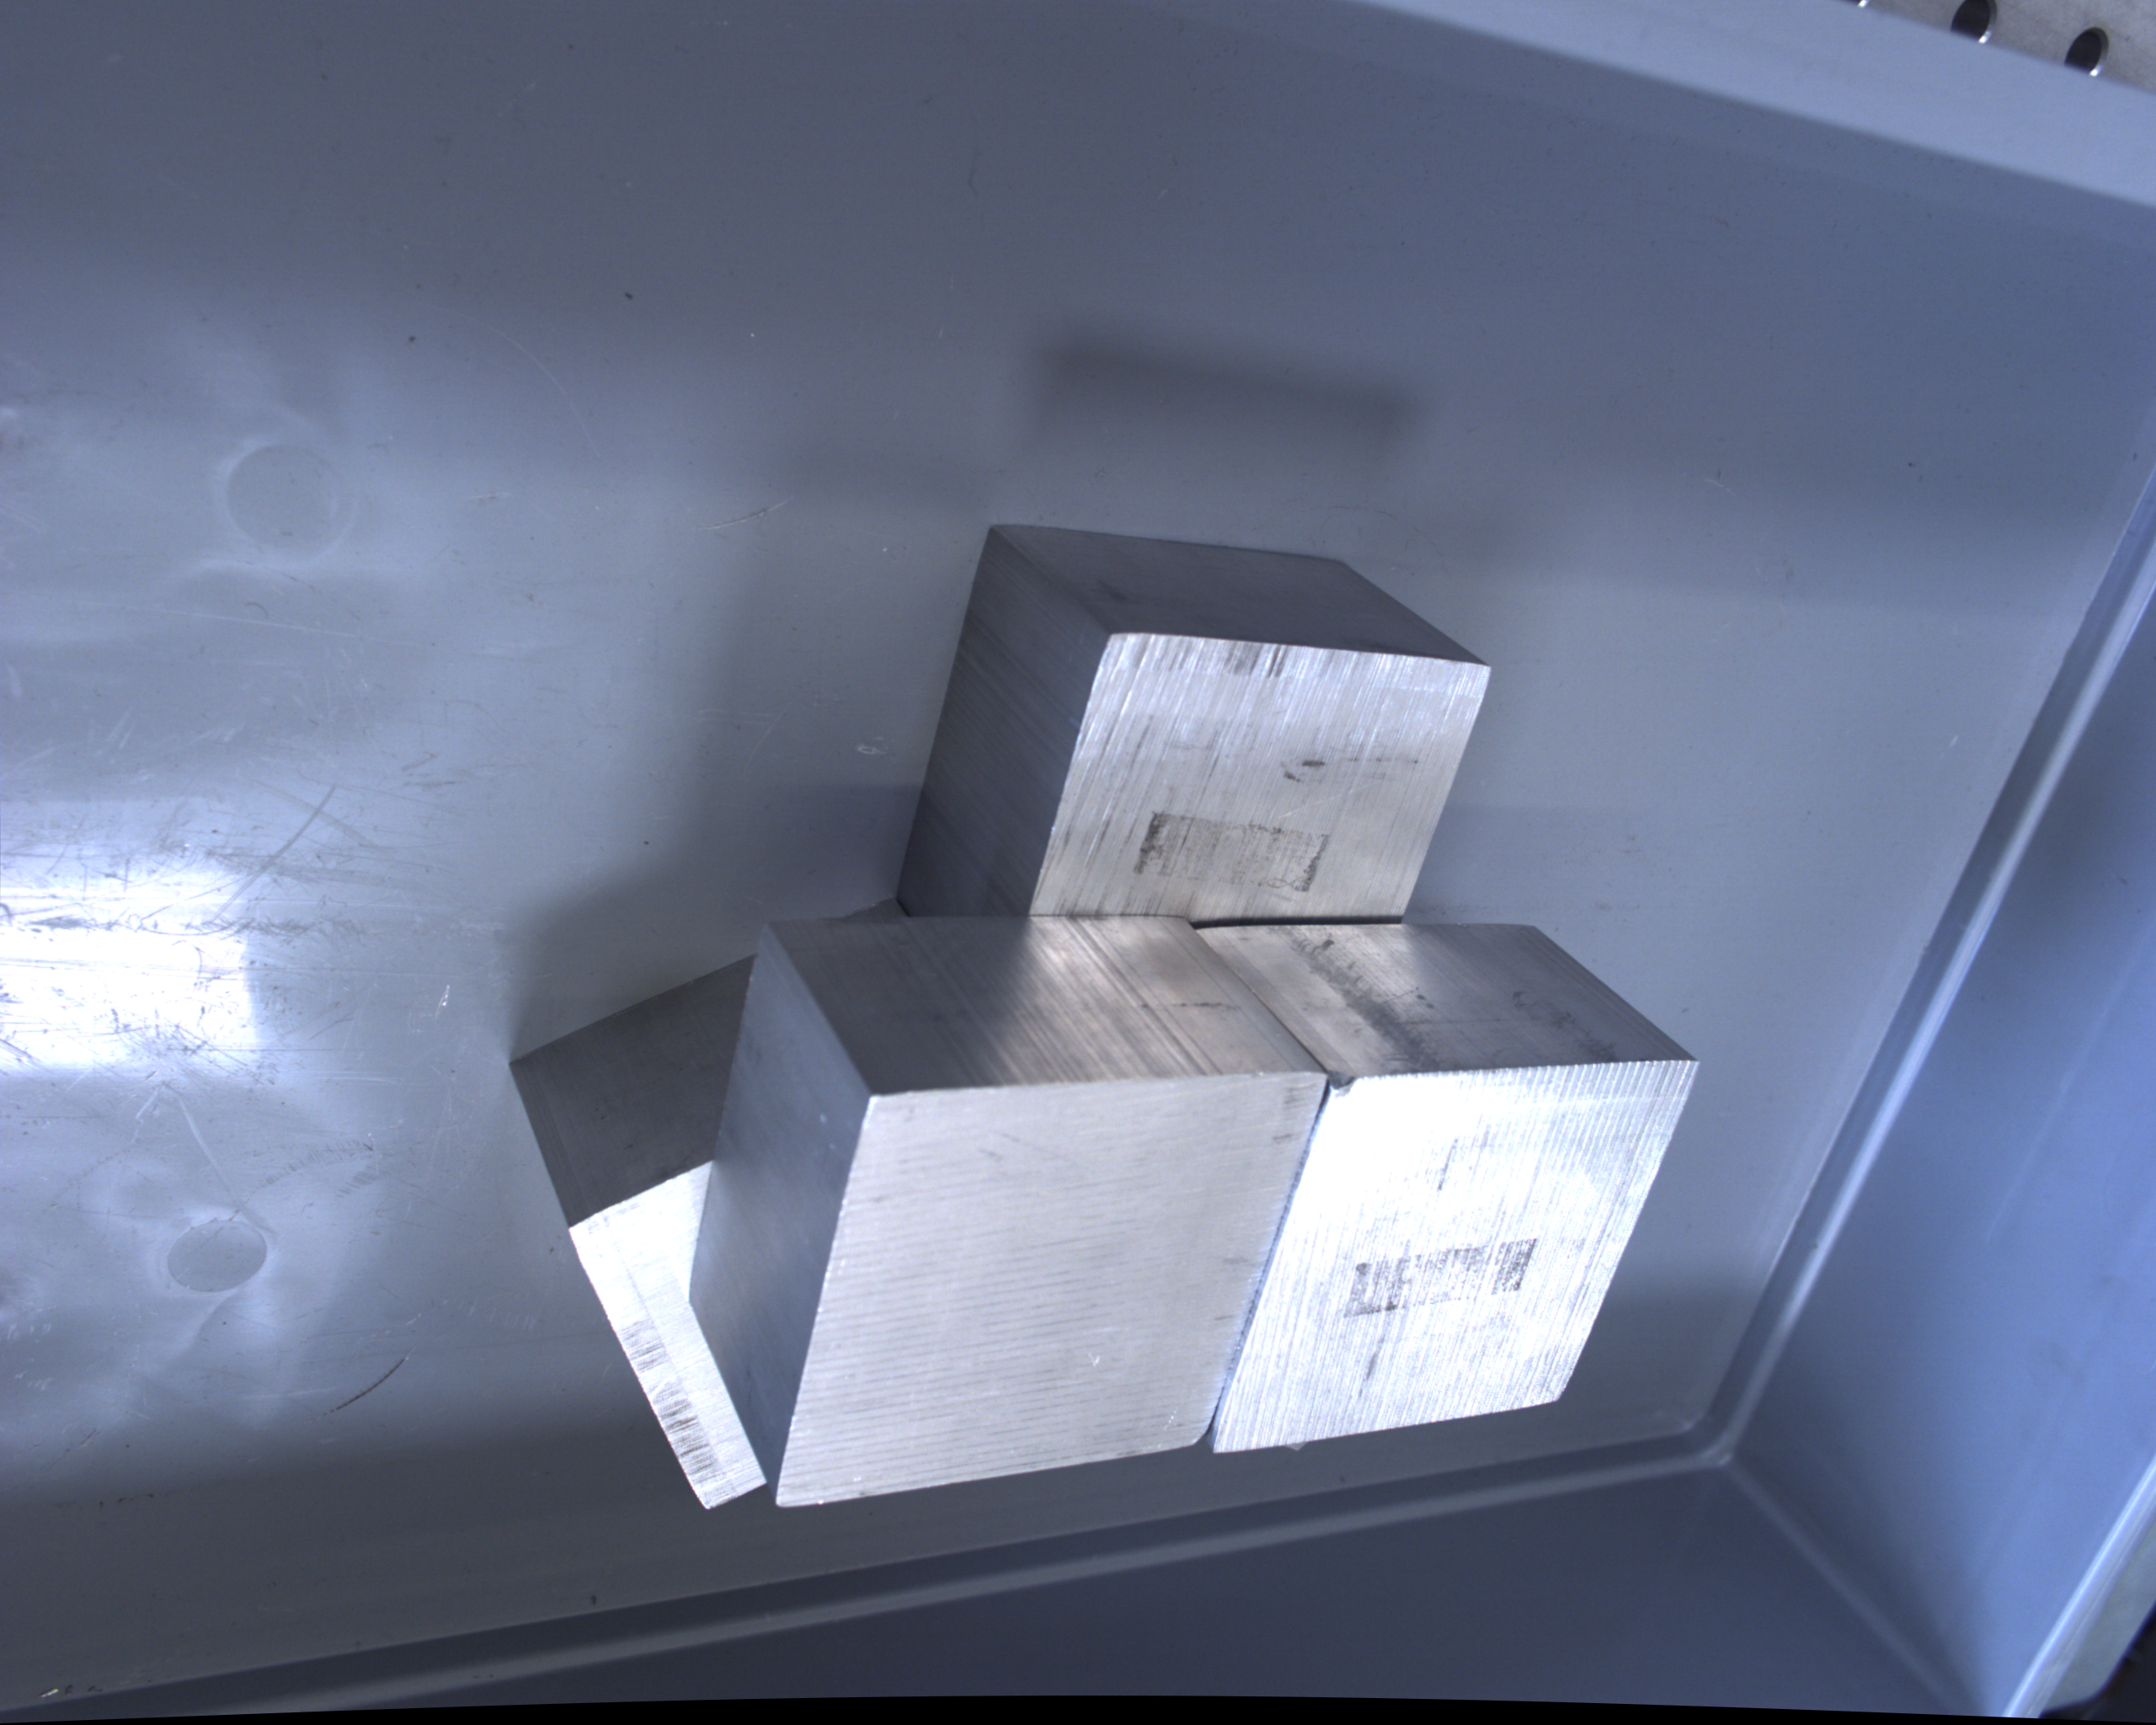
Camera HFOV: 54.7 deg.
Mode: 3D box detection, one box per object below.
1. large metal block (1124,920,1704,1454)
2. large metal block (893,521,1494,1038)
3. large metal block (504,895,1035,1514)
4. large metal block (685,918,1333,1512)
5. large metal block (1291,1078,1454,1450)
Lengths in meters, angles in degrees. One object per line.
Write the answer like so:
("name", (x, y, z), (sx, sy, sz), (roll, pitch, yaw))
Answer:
("large metal block", (0.057, 0.058, 0.391), (0.081, 0.050, 0.079), (1, 118, -29))
("large metal block", (0.020, -0.014, 0.392), (0.081, 0.050, 0.079), (1, 118, -29))
("large metal block", (-0.053, 0.065, 0.402), (0.081, 0.050, 0.080), (-24, 127, -14))
("large metal block", (-0.014, 0.056, 0.353), (0.081, 0.050, 0.079), (1, 118, -29))
("large metal block", (0.040, 0.070, 0.454), (0.080, 0.050, 0.080), (-47, 129, 5))
